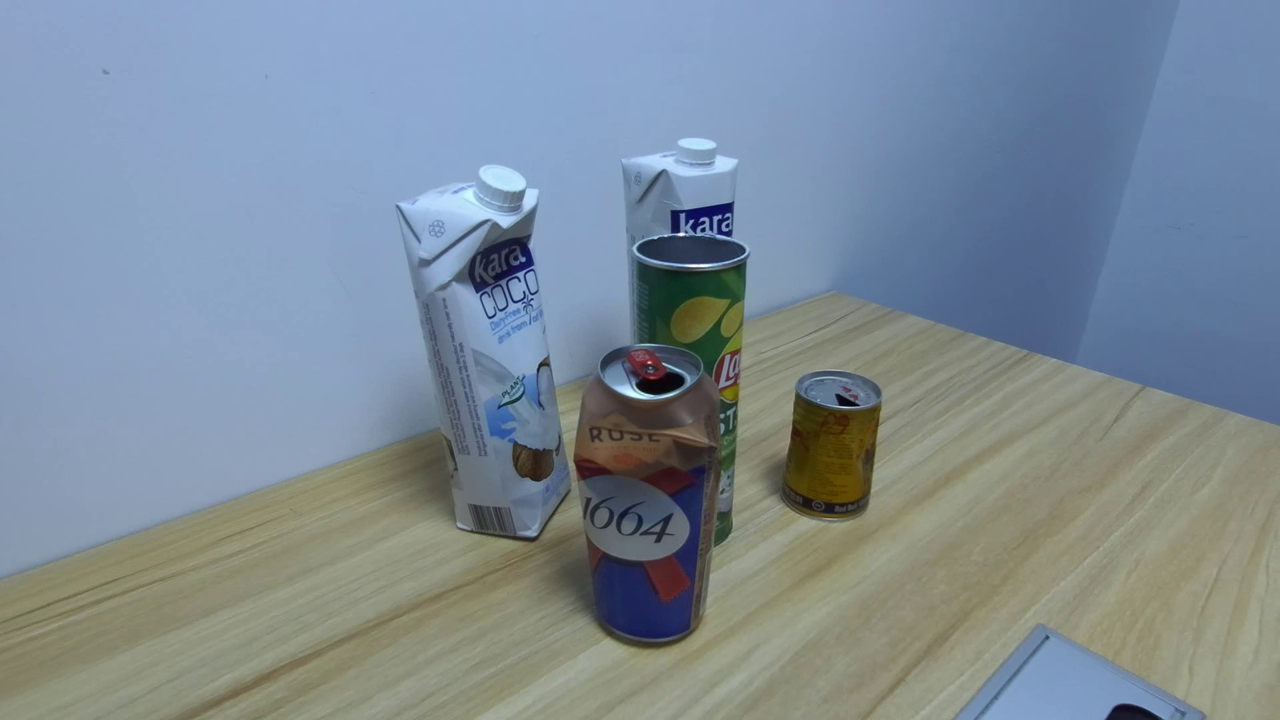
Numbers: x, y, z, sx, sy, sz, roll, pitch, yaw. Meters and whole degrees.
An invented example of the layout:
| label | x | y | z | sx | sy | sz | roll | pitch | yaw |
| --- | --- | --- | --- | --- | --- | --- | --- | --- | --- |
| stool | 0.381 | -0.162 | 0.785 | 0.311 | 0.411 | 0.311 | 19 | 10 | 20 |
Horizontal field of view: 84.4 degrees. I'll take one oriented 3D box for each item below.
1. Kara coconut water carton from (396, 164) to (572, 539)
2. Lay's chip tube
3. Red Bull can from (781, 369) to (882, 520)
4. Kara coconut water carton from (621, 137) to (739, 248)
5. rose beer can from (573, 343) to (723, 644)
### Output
| label | x | y | z | sx | sy | sz | roll | pitch | yaw |
| --- | --- | --- | --- | --- | --- | --- | --- | --- | --- |
| Kara coconut water carton | -0.097 | -0.003 | 0.474 | 0.071 | 0.244 | 0.100 | 4 | 27 | 16 |
| Lay's chip tube | 0.031 | 0.023 | 0.460 | 0.071 | 0.202 | 0.071 | 0 | 25 | 0 |
| Red Bull can | 0.139 | 0.062 | 0.512 | 0.069 | 0.092 | 0.069 | 0 | 24 | 0 |
| Kara coconut water carton | 0.033 | -0.053 | 0.575 | 0.077 | 0.245 | 0.075 | -18 | 29 | -31 |
| rose beer can | 0.005 | 0.078 | 0.390 | 0.075 | 0.167 | 0.065 | 15 | 32 | 27 |
